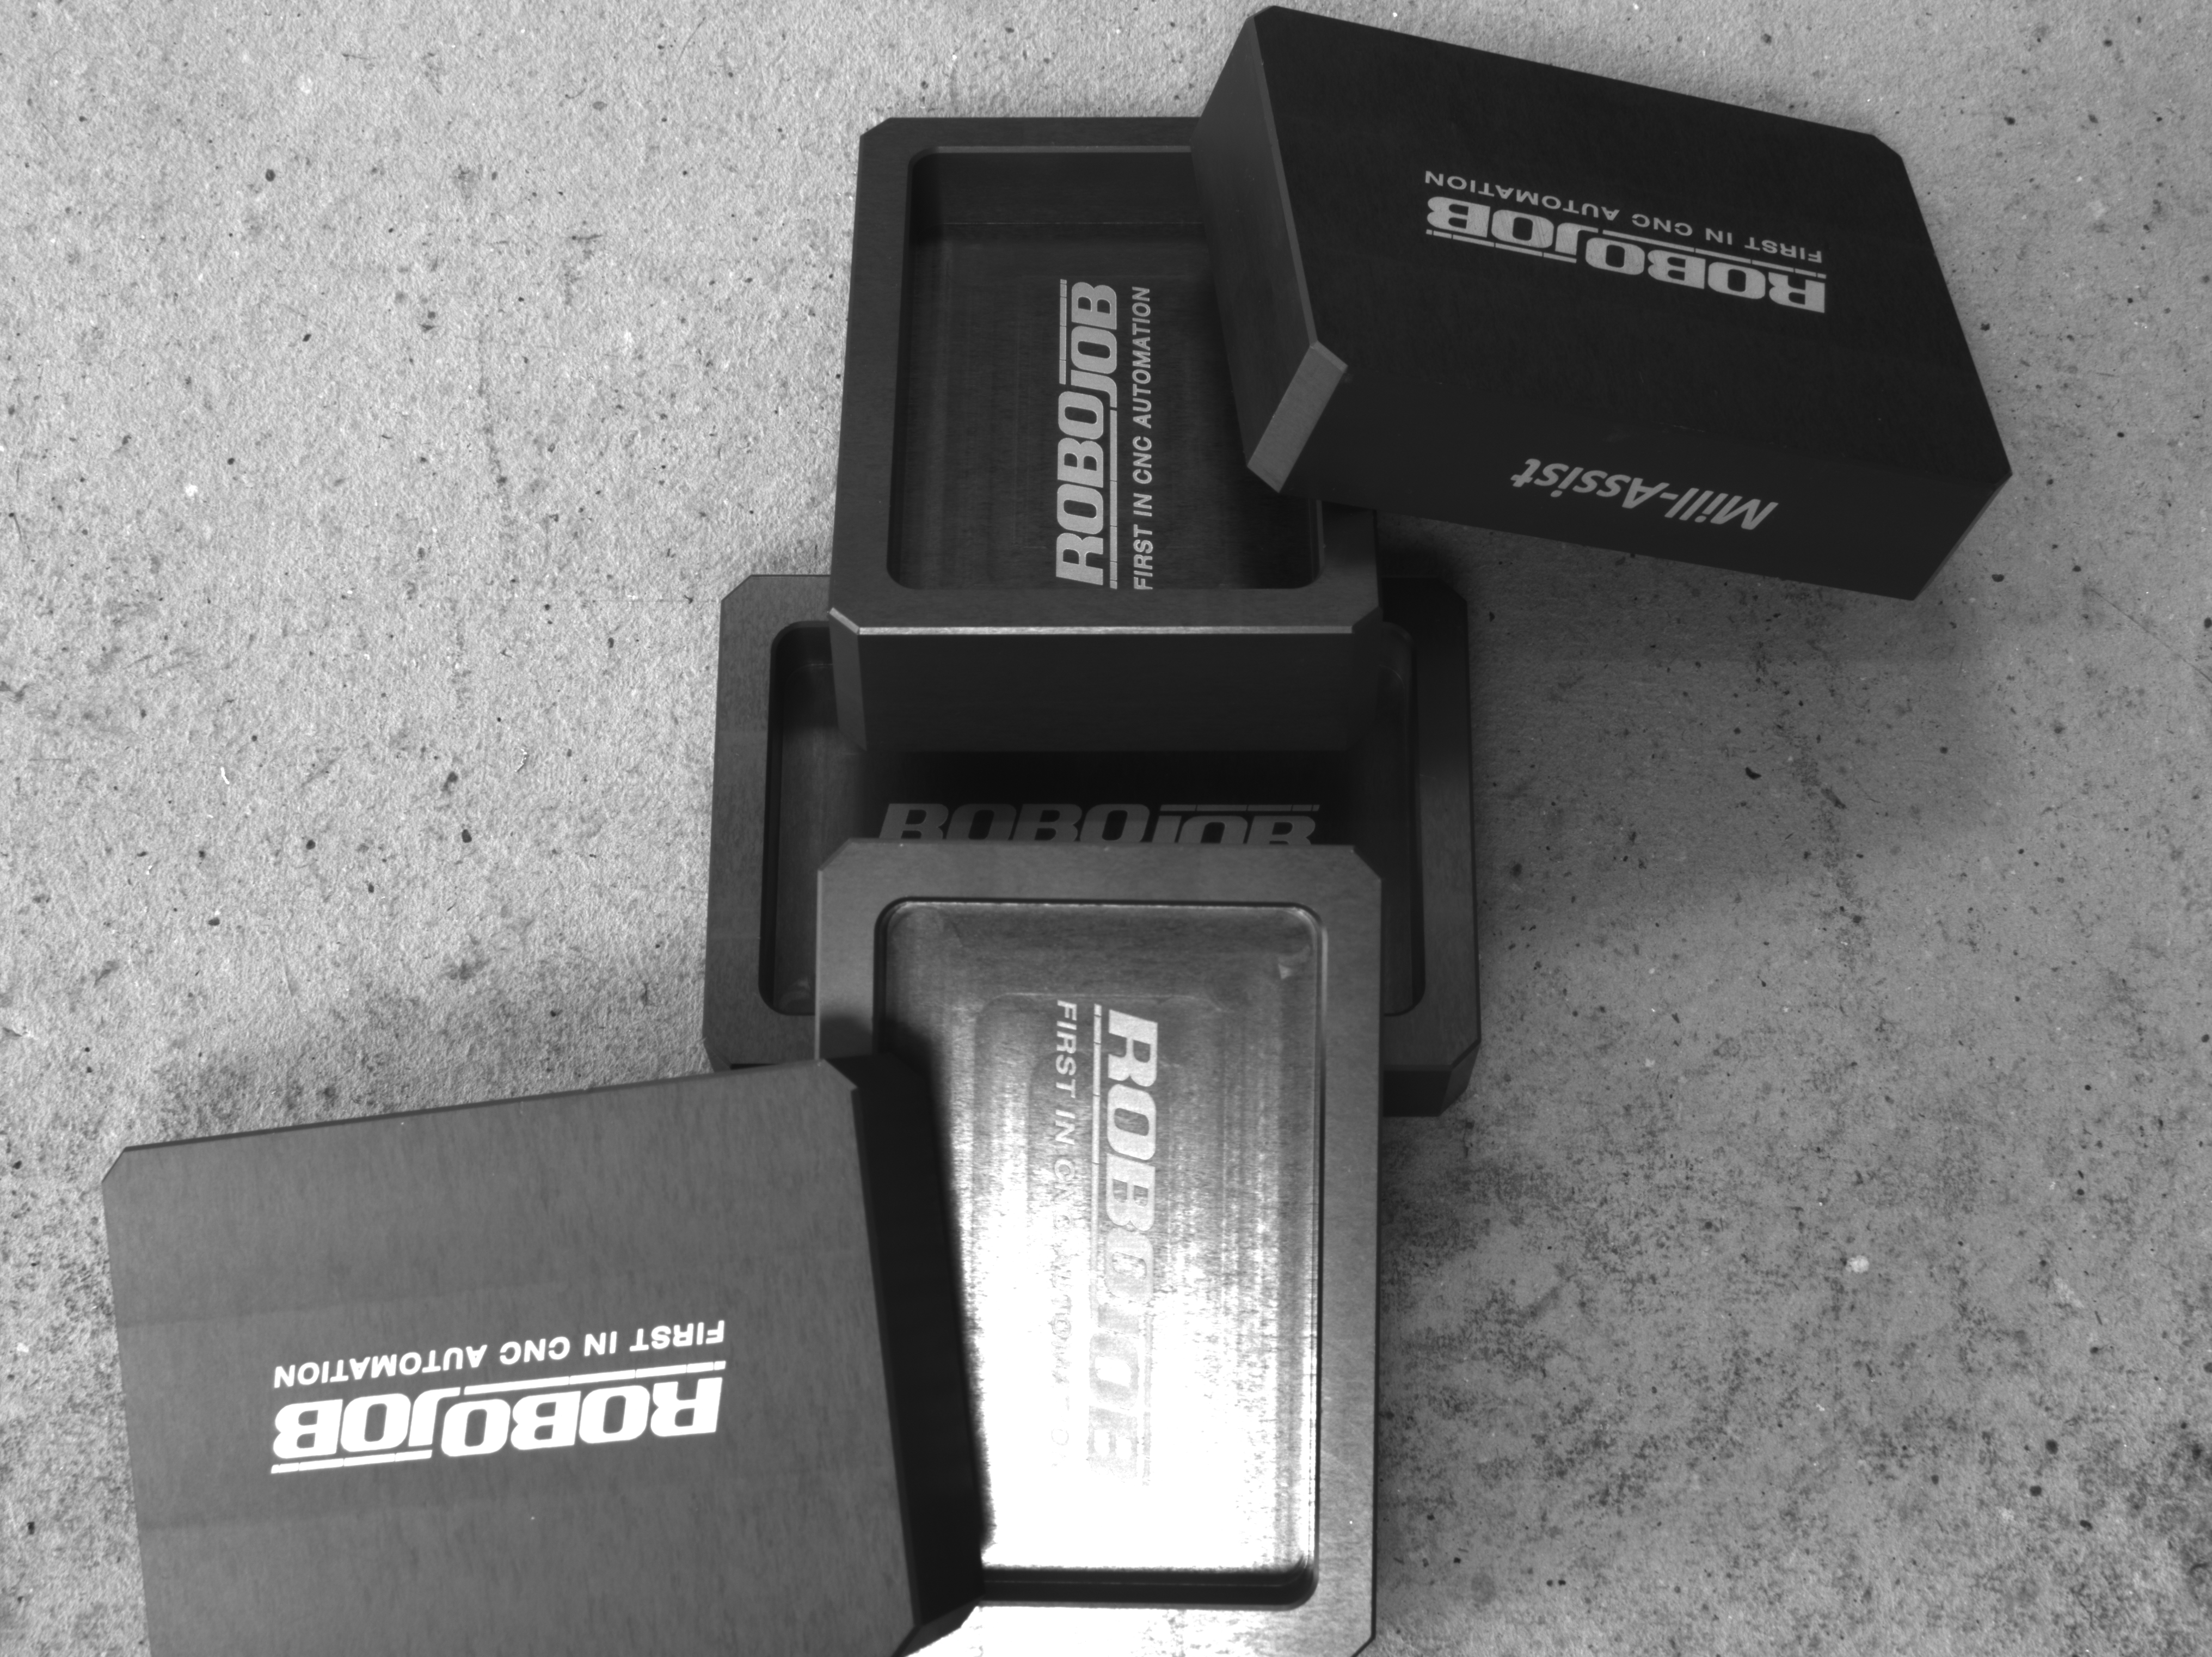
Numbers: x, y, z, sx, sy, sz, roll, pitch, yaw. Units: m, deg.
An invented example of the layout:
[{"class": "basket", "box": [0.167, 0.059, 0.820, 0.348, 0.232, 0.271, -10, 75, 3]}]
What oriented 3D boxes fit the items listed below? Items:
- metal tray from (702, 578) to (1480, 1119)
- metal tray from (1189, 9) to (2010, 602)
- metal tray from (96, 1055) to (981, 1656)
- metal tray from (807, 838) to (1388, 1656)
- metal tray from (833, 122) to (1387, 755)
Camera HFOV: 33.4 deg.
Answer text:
[{"class": "metal tray", "box": [-0.002, 0.003, 0.642, 0.130, 0.030, 0.090, 0, 70, 0]}, {"class": "metal tray", "box": [0.085, -0.091, 0.642, 0.130, 0.030, 0.090, 8, 49, -19]}, {"class": "metal tray", "box": [-0.090, 0.088, 0.579, 0.130, 0.030, 0.090, -8, 86, 16]}, {"class": "metal tray", "box": [-0.001, 0.067, 0.597, 0.090, 0.030, 0.130, 1, 89, 1]}, {"class": "metal tray", "box": [0.001, -0.071, 0.648, 0.090, 0.030, 0.130, 0, 50, 0]}]
